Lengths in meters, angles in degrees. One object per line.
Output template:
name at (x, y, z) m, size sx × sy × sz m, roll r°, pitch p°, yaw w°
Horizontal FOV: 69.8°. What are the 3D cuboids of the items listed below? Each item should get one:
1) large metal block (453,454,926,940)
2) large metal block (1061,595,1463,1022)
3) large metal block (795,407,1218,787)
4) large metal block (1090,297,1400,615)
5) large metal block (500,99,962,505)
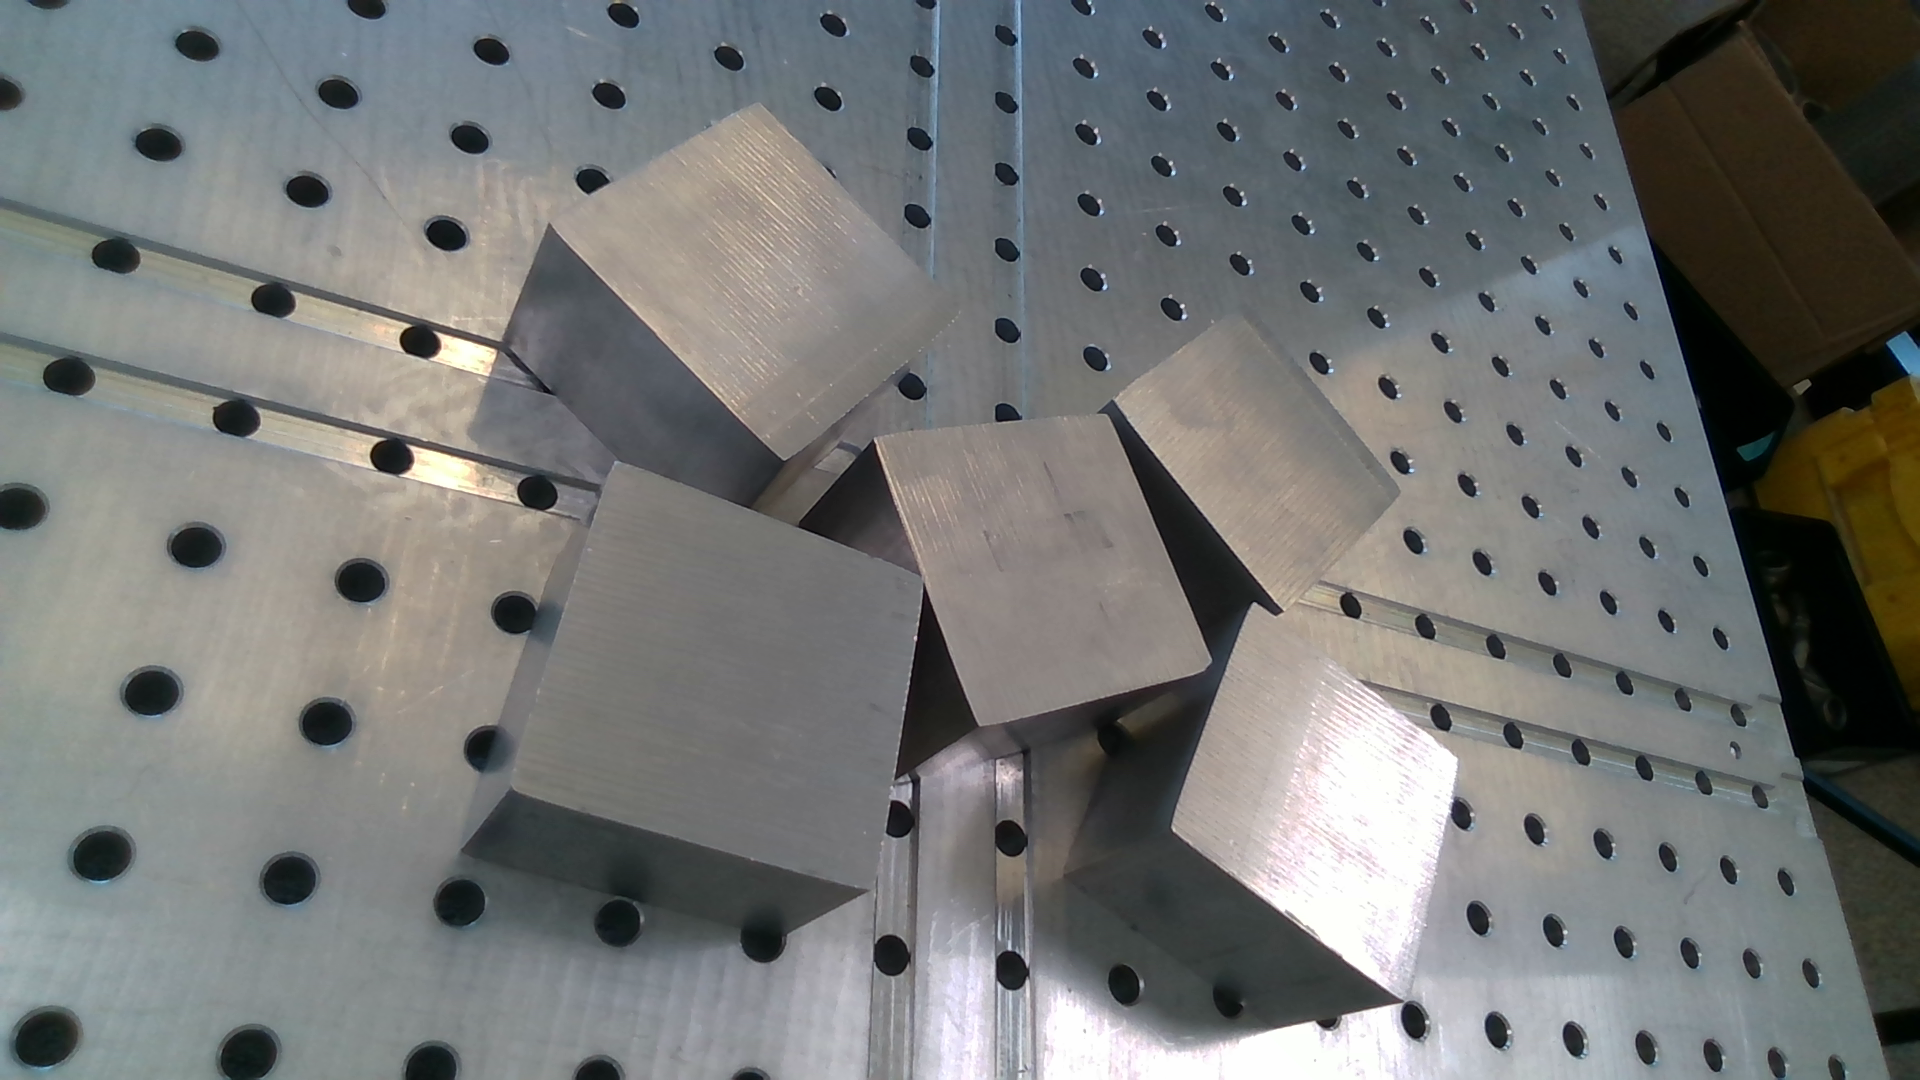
large metal block at (-0.061, 0.039, 0.322) m, size 0.080 × 0.050 × 0.080 m, roll 23°, pitch 56°, yaw -20°
large metal block at (0.087, 0.077, 0.391) m, size 0.080 × 0.050 × 0.080 m, roll 36°, pitch 55°, yaw -10°
large metal block at (0.012, 0.014, 0.379) m, size 0.080 × 0.050 × 0.080 m, roll -9°, pitch 70°, yaw -35°
large metal block at (0.080, -0.019, 0.440) m, size 0.080 × 0.050 × 0.080 m, roll -36°, pitch 86°, yaw -40°
large metal block at (-0.061, -0.059, 0.372) m, size 0.080 × 0.050 × 0.080 m, roll 46°, pitch 50°, yaw -3°
